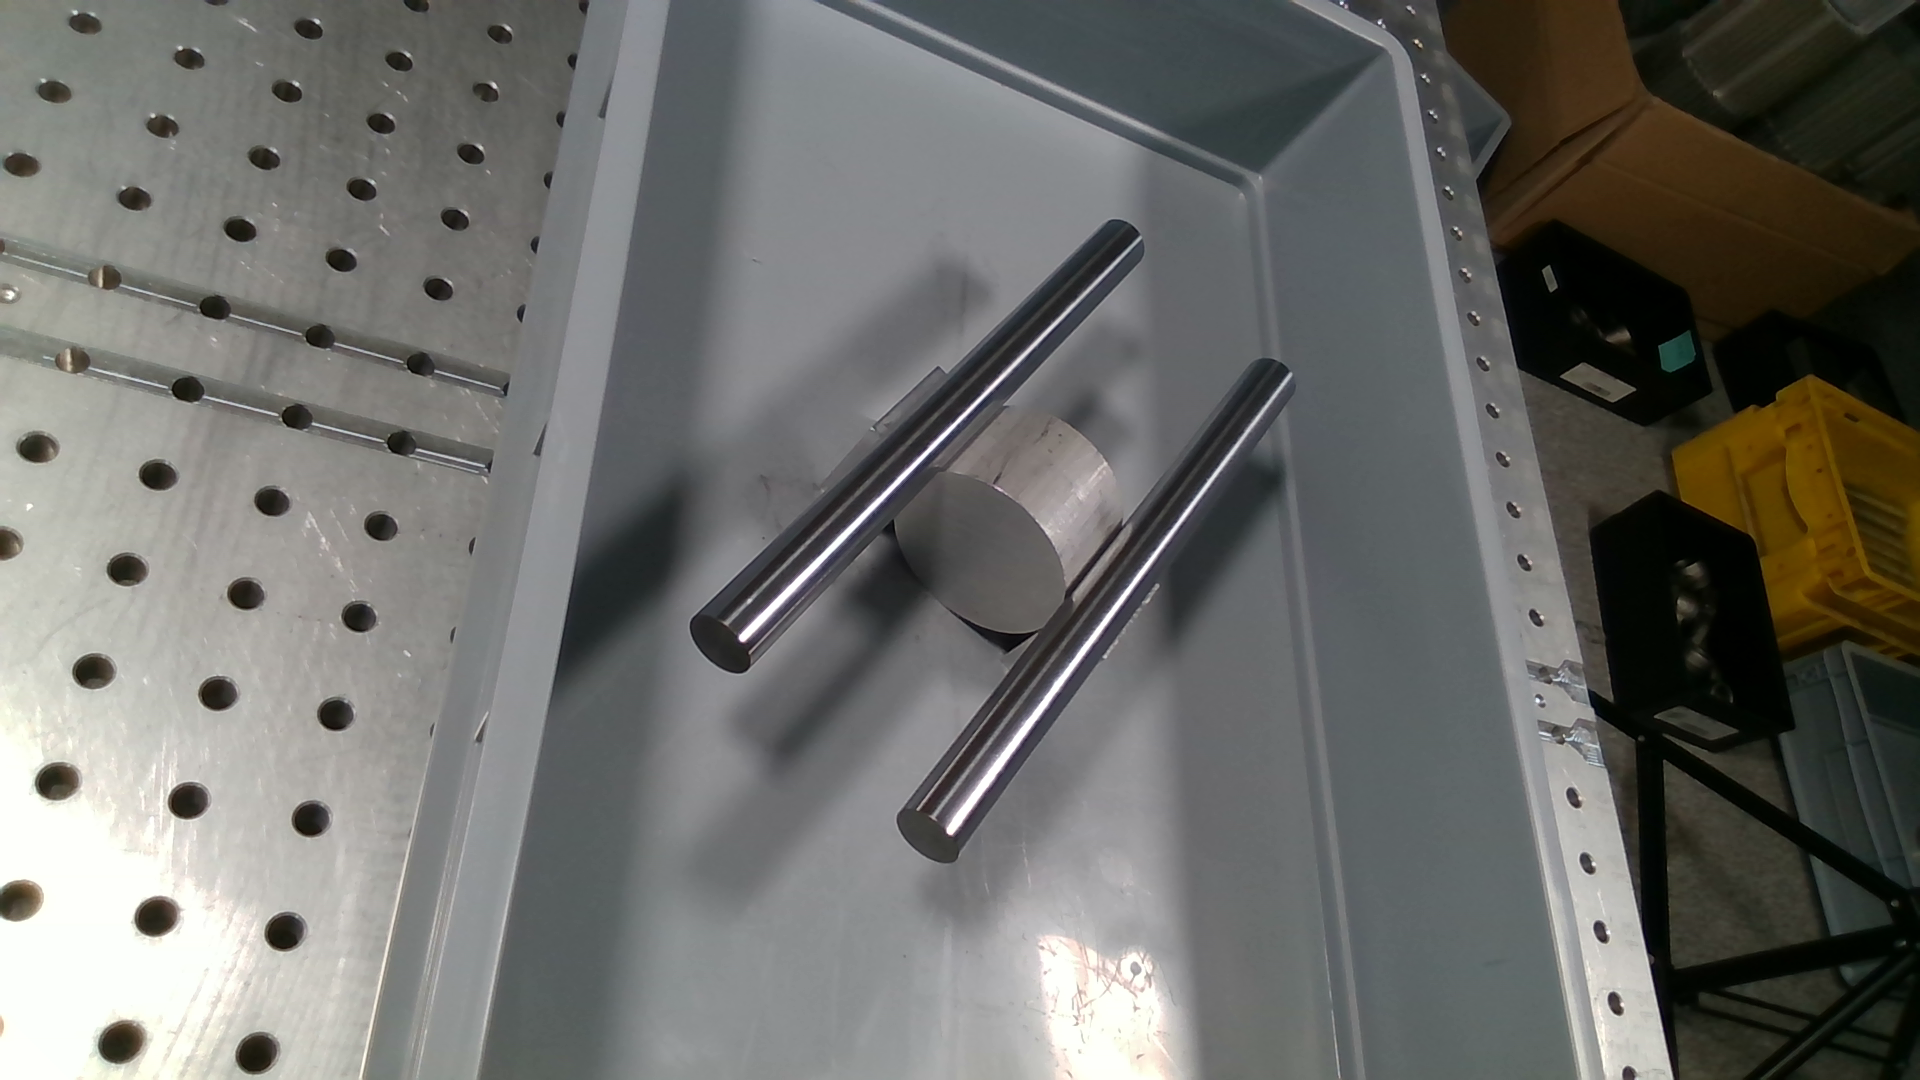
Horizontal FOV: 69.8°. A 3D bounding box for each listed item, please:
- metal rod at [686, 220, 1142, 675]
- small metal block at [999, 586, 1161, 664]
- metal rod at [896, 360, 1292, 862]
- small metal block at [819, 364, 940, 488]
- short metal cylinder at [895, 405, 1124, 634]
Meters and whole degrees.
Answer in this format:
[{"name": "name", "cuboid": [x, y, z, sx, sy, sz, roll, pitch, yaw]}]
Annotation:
[{"name": "metal rod", "cuboid": [-0.003, -0.052, 0.548, 0.025, 0.025, 0.299, 45, 51, -3]}, {"name": "small metal block", "cuboid": [0.050, 0.035, 0.580, 0.025, 0.050, 0.050, 45, 51, -3]}, {"name": "metal rod", "cuboid": [0.067, 0.012, 0.555, 0.025, 0.025, 0.299, 45, 51, -3]}, {"name": "small metal block", "cuboid": [-0.025, -0.039, 0.574, 0.025, 0.050, 0.050, 45, 51, -3]}, {"name": "short metal cylinder", "cuboid": [0.020, -0.008, 0.566, 0.080, 0.080, 0.050, 45, 51, -3]}]
